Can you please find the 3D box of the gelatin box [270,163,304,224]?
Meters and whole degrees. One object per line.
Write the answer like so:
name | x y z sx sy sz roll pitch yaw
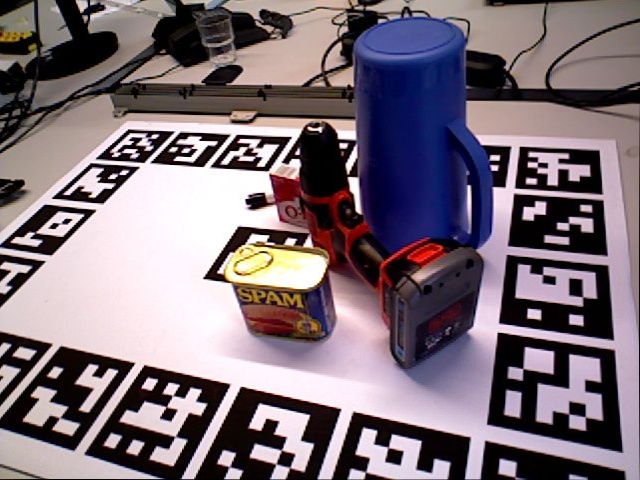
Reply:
gelatin box | -0.013 -0.052 0.671 0.090 0.074 0.029 16 51 25

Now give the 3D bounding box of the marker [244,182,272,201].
marker | -0.045 -0.075 0.742 0.120 0.020 0.019 -13 42 1

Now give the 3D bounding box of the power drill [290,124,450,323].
power drill | 0.041 -0.019 0.537 0.056 0.188 0.186 -33 52 -21

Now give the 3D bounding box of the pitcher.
pitcher | 0.114 -0.099 0.574 0.131 0.246 0.189 -35 40 -21

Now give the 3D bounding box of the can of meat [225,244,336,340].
can of meat | -0.036 0.051 0.548 0.102 0.085 0.056 6 42 18
